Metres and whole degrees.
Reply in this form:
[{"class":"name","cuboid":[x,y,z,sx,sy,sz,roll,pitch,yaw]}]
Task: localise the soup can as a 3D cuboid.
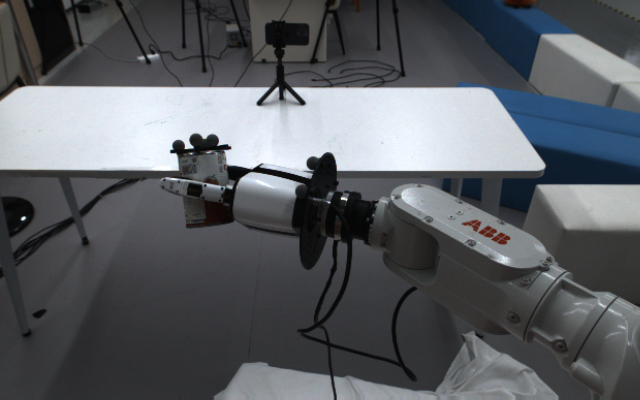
[{"class":"soup can","cuboid":[-0.159,-0.013,0.681,0.067,0.101,0.067,-7,3,0]}]
